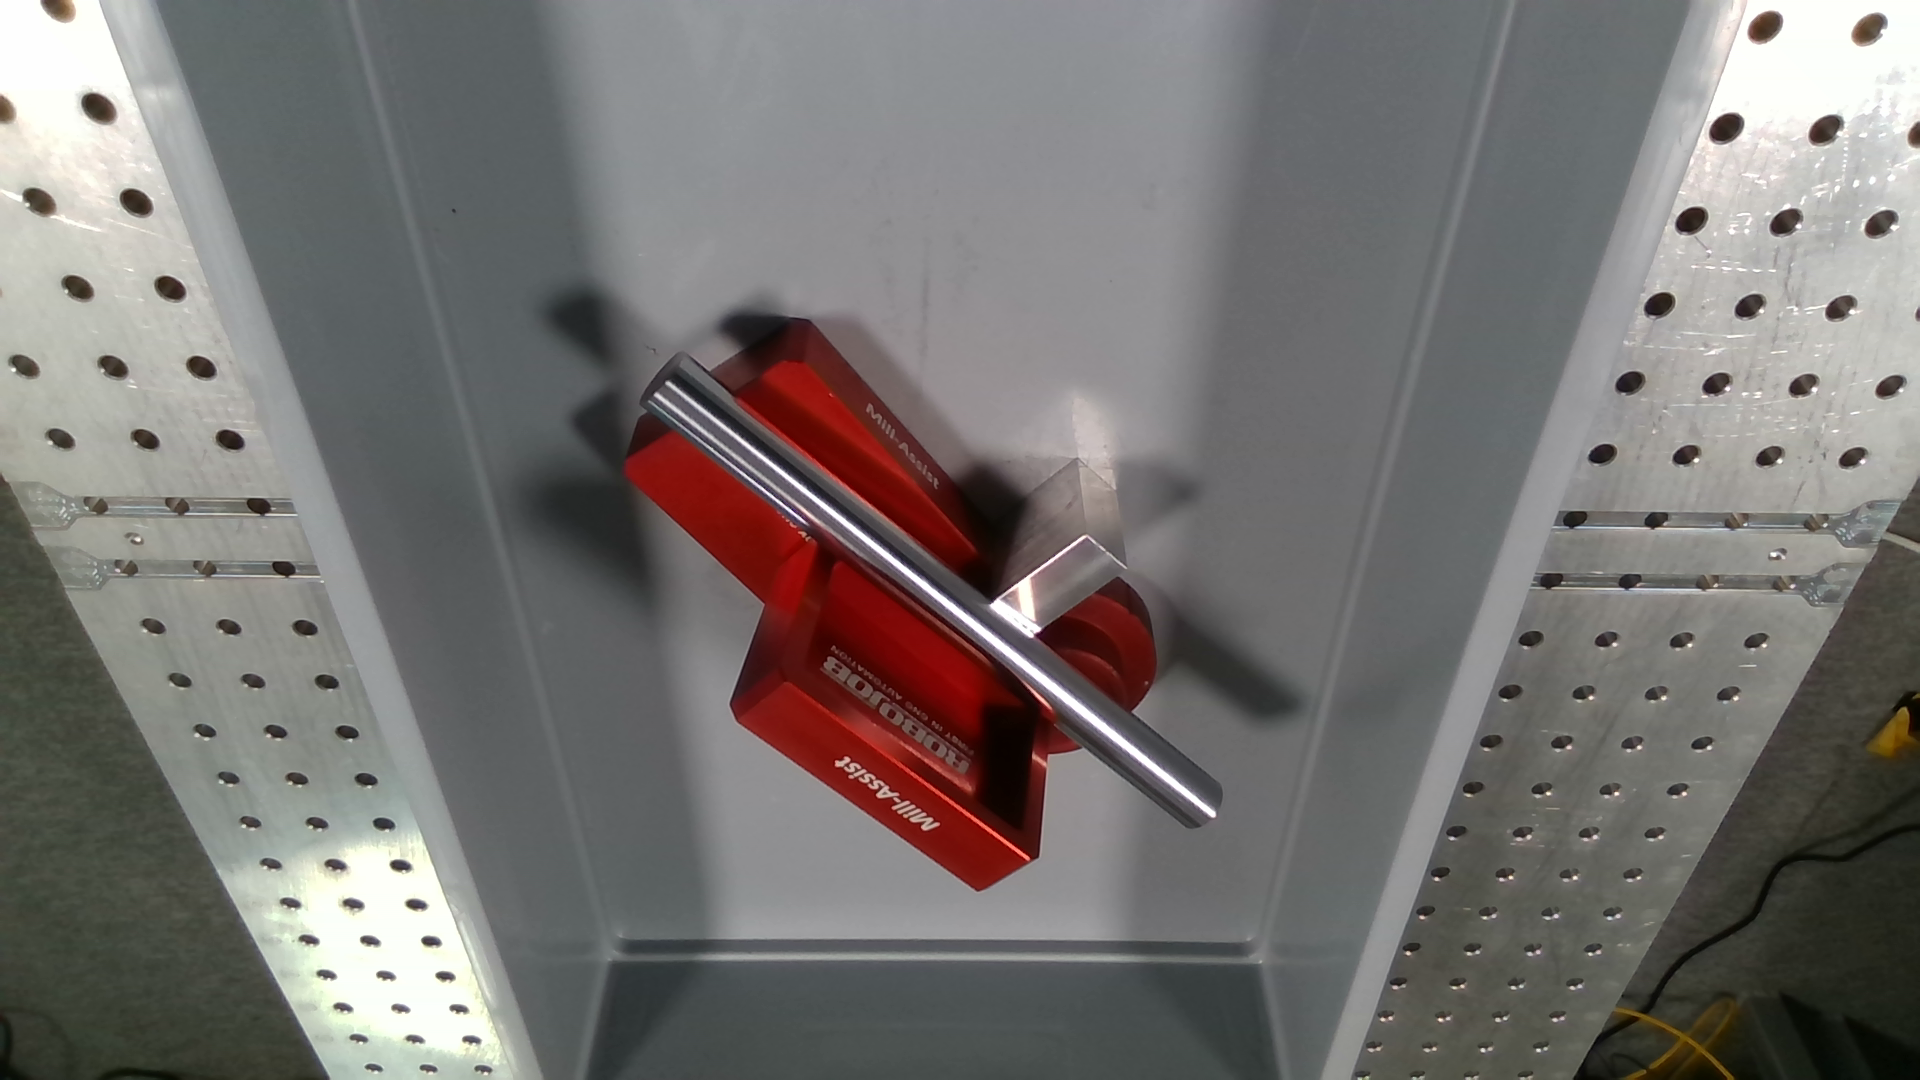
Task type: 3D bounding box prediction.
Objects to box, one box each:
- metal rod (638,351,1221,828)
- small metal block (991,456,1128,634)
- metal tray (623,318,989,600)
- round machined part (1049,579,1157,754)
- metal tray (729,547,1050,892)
[{"bbox_3d":[-0.001,0.030,0.552,0.301,0.025,0.025,39,120,-23],"label":"metal rod"},{"bbox_3d":[0.039,0.002,0.563,0.050,0.050,0.025,-37,121,27],"label":"small metal block"},{"bbox_3d":[-0.060,-0.017,0.561,0.090,0.030,0.130,-28,125,22],"label":"metal tray"},{"bbox_3d":[0.039,0.058,0.615,0.098,0.042,0.098,0,130,0],"label":"round machined part"},{"bbox_3d":[-0.022,0.067,0.542,0.130,0.090,0.030,39,123,-21],"label":"metal tray"}]
